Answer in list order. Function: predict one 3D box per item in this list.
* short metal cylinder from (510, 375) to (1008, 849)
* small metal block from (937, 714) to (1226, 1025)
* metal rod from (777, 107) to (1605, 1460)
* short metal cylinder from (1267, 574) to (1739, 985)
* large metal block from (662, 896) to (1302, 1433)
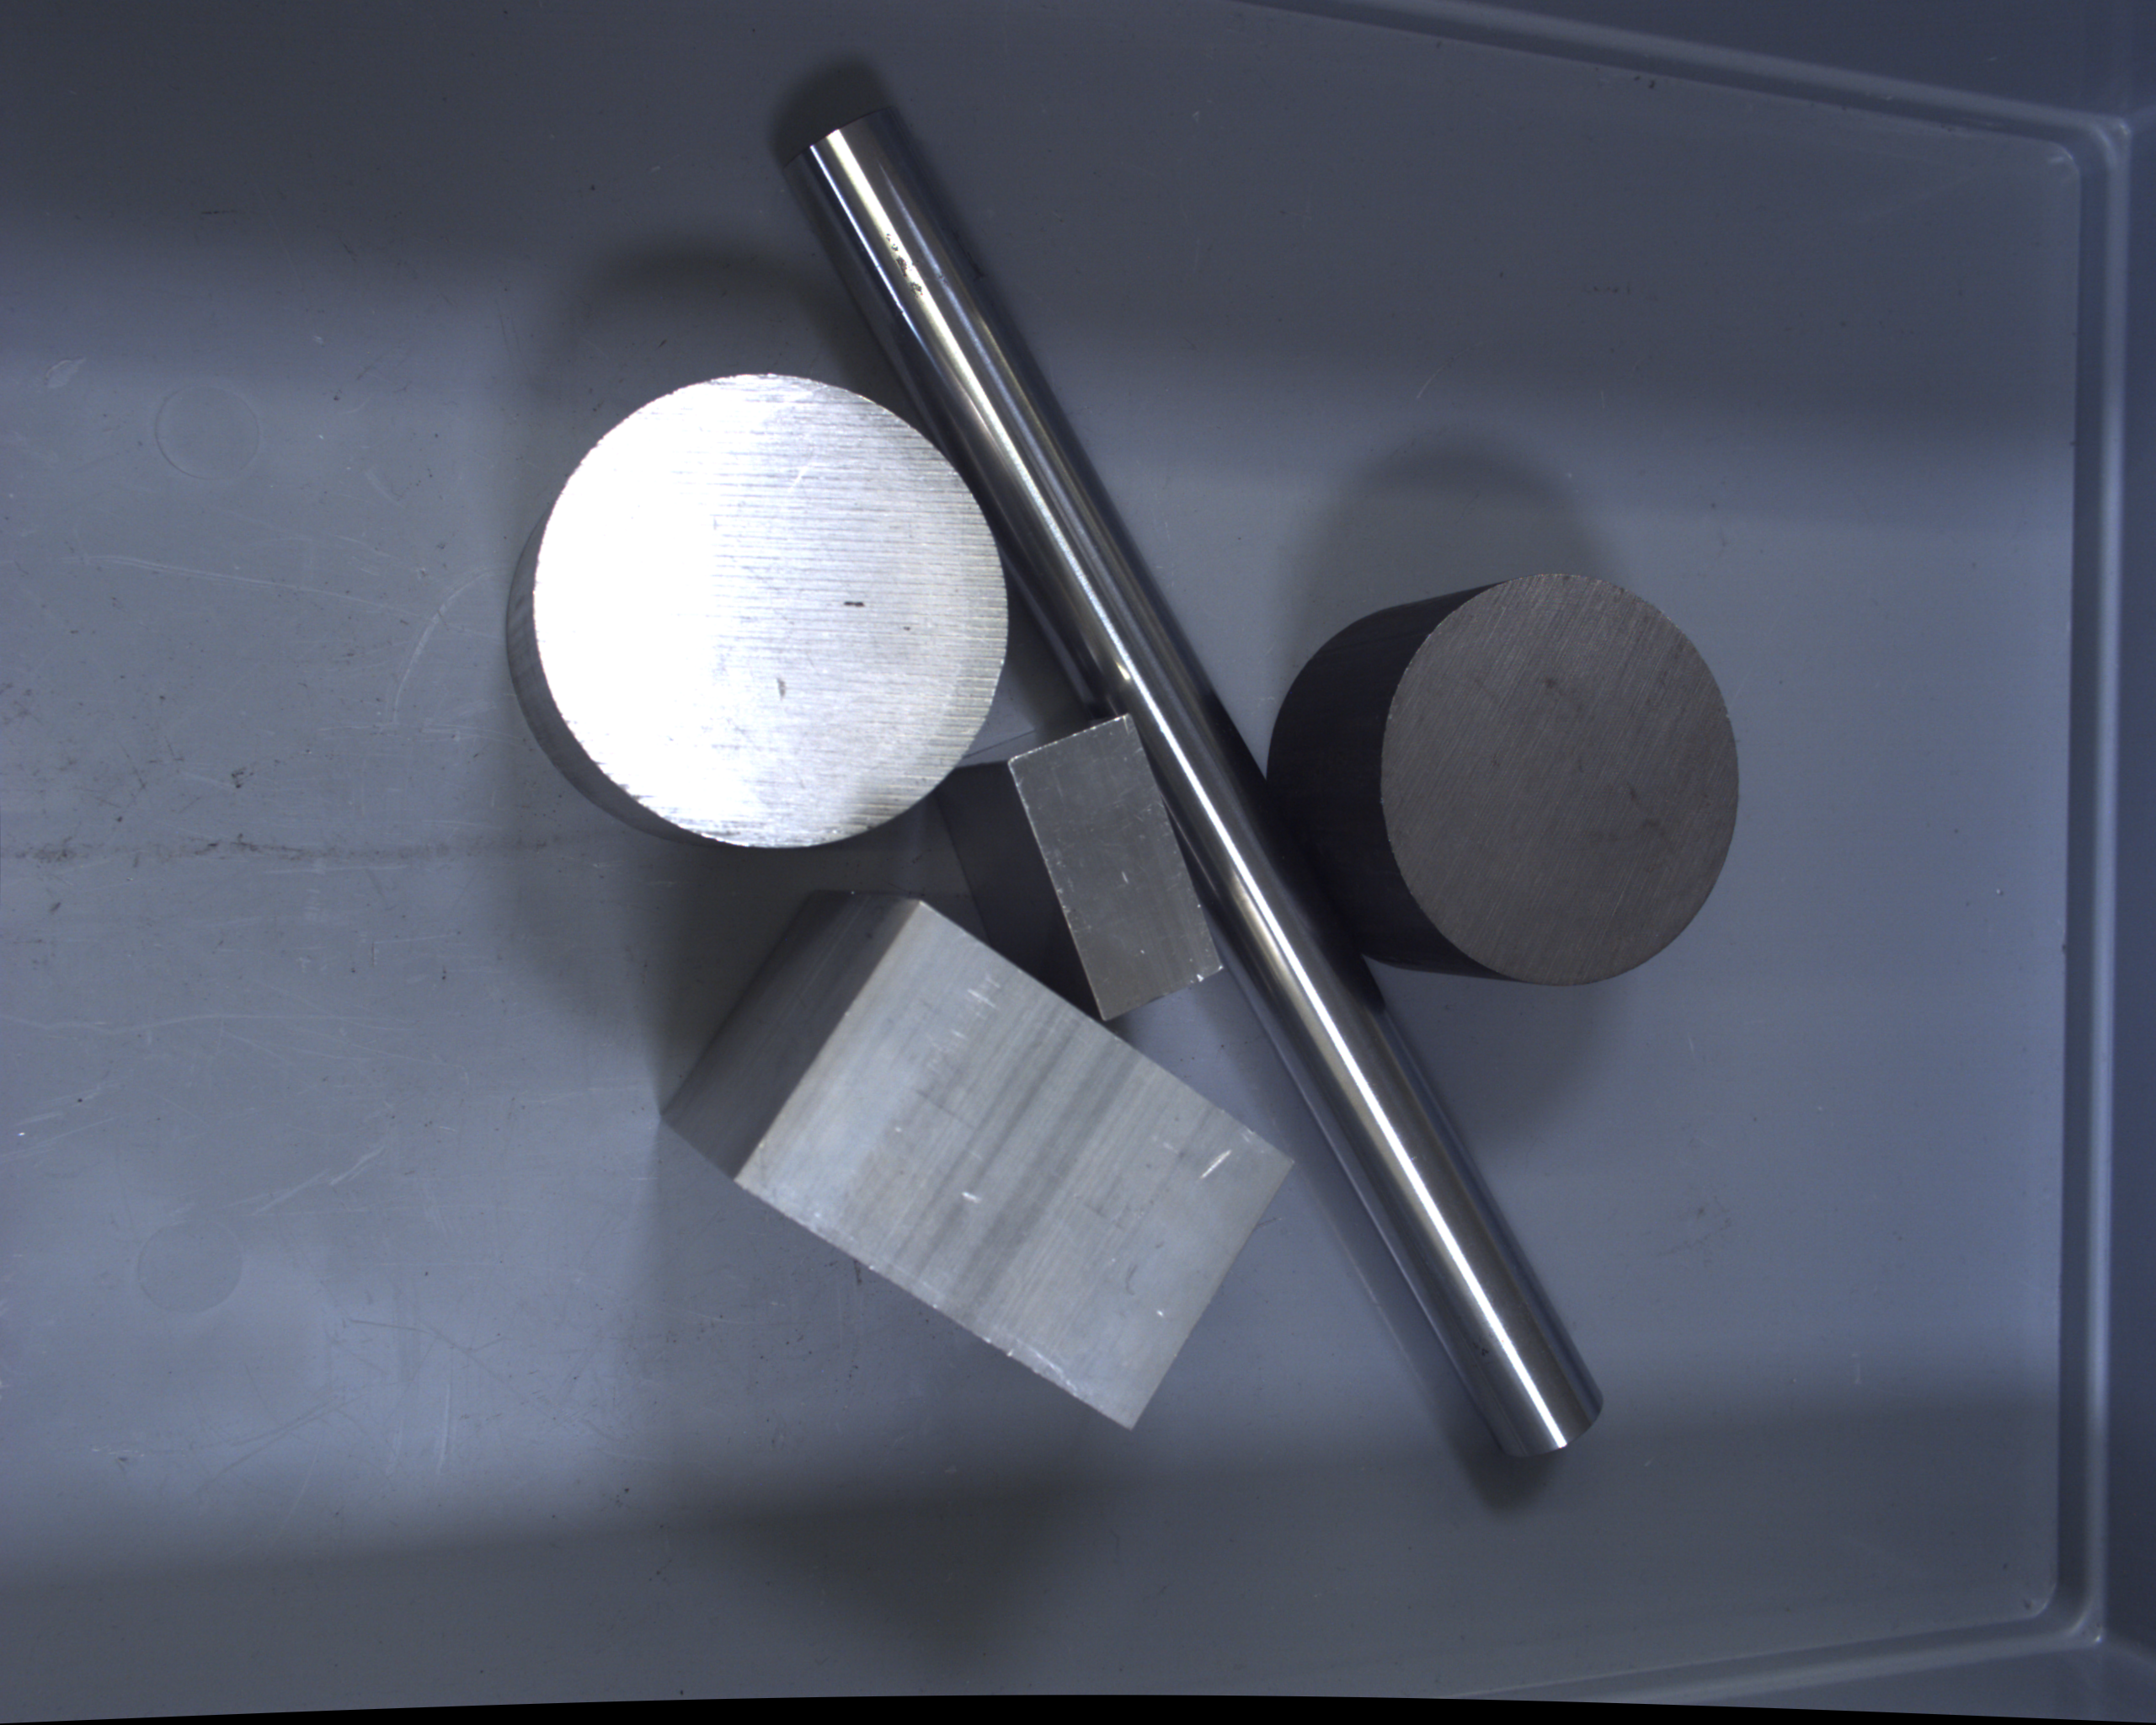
[{"bbox_3d":[-0.059,-0.042,0.374,0.081,0.050,0.079,0,90,-20],"label":"short metal cylinder"},{"bbox_3d":[-0.001,0.001,0.395,0.025,0.050,0.050,-23,98,-19],"label":"small metal block"},{"bbox_3d":[0.028,-0.008,0.419,0.025,0.025,0.299,-33,101,-17],"label":"metal rod"},{"bbox_3d":[0.086,-0.016,0.427,0.081,0.050,0.079,0,90,-20],"label":"short metal cylinder"},{"bbox_3d":[-0.021,0.050,0.371,0.080,0.080,0.050,36,79,-16],"label":"large metal block"}]
